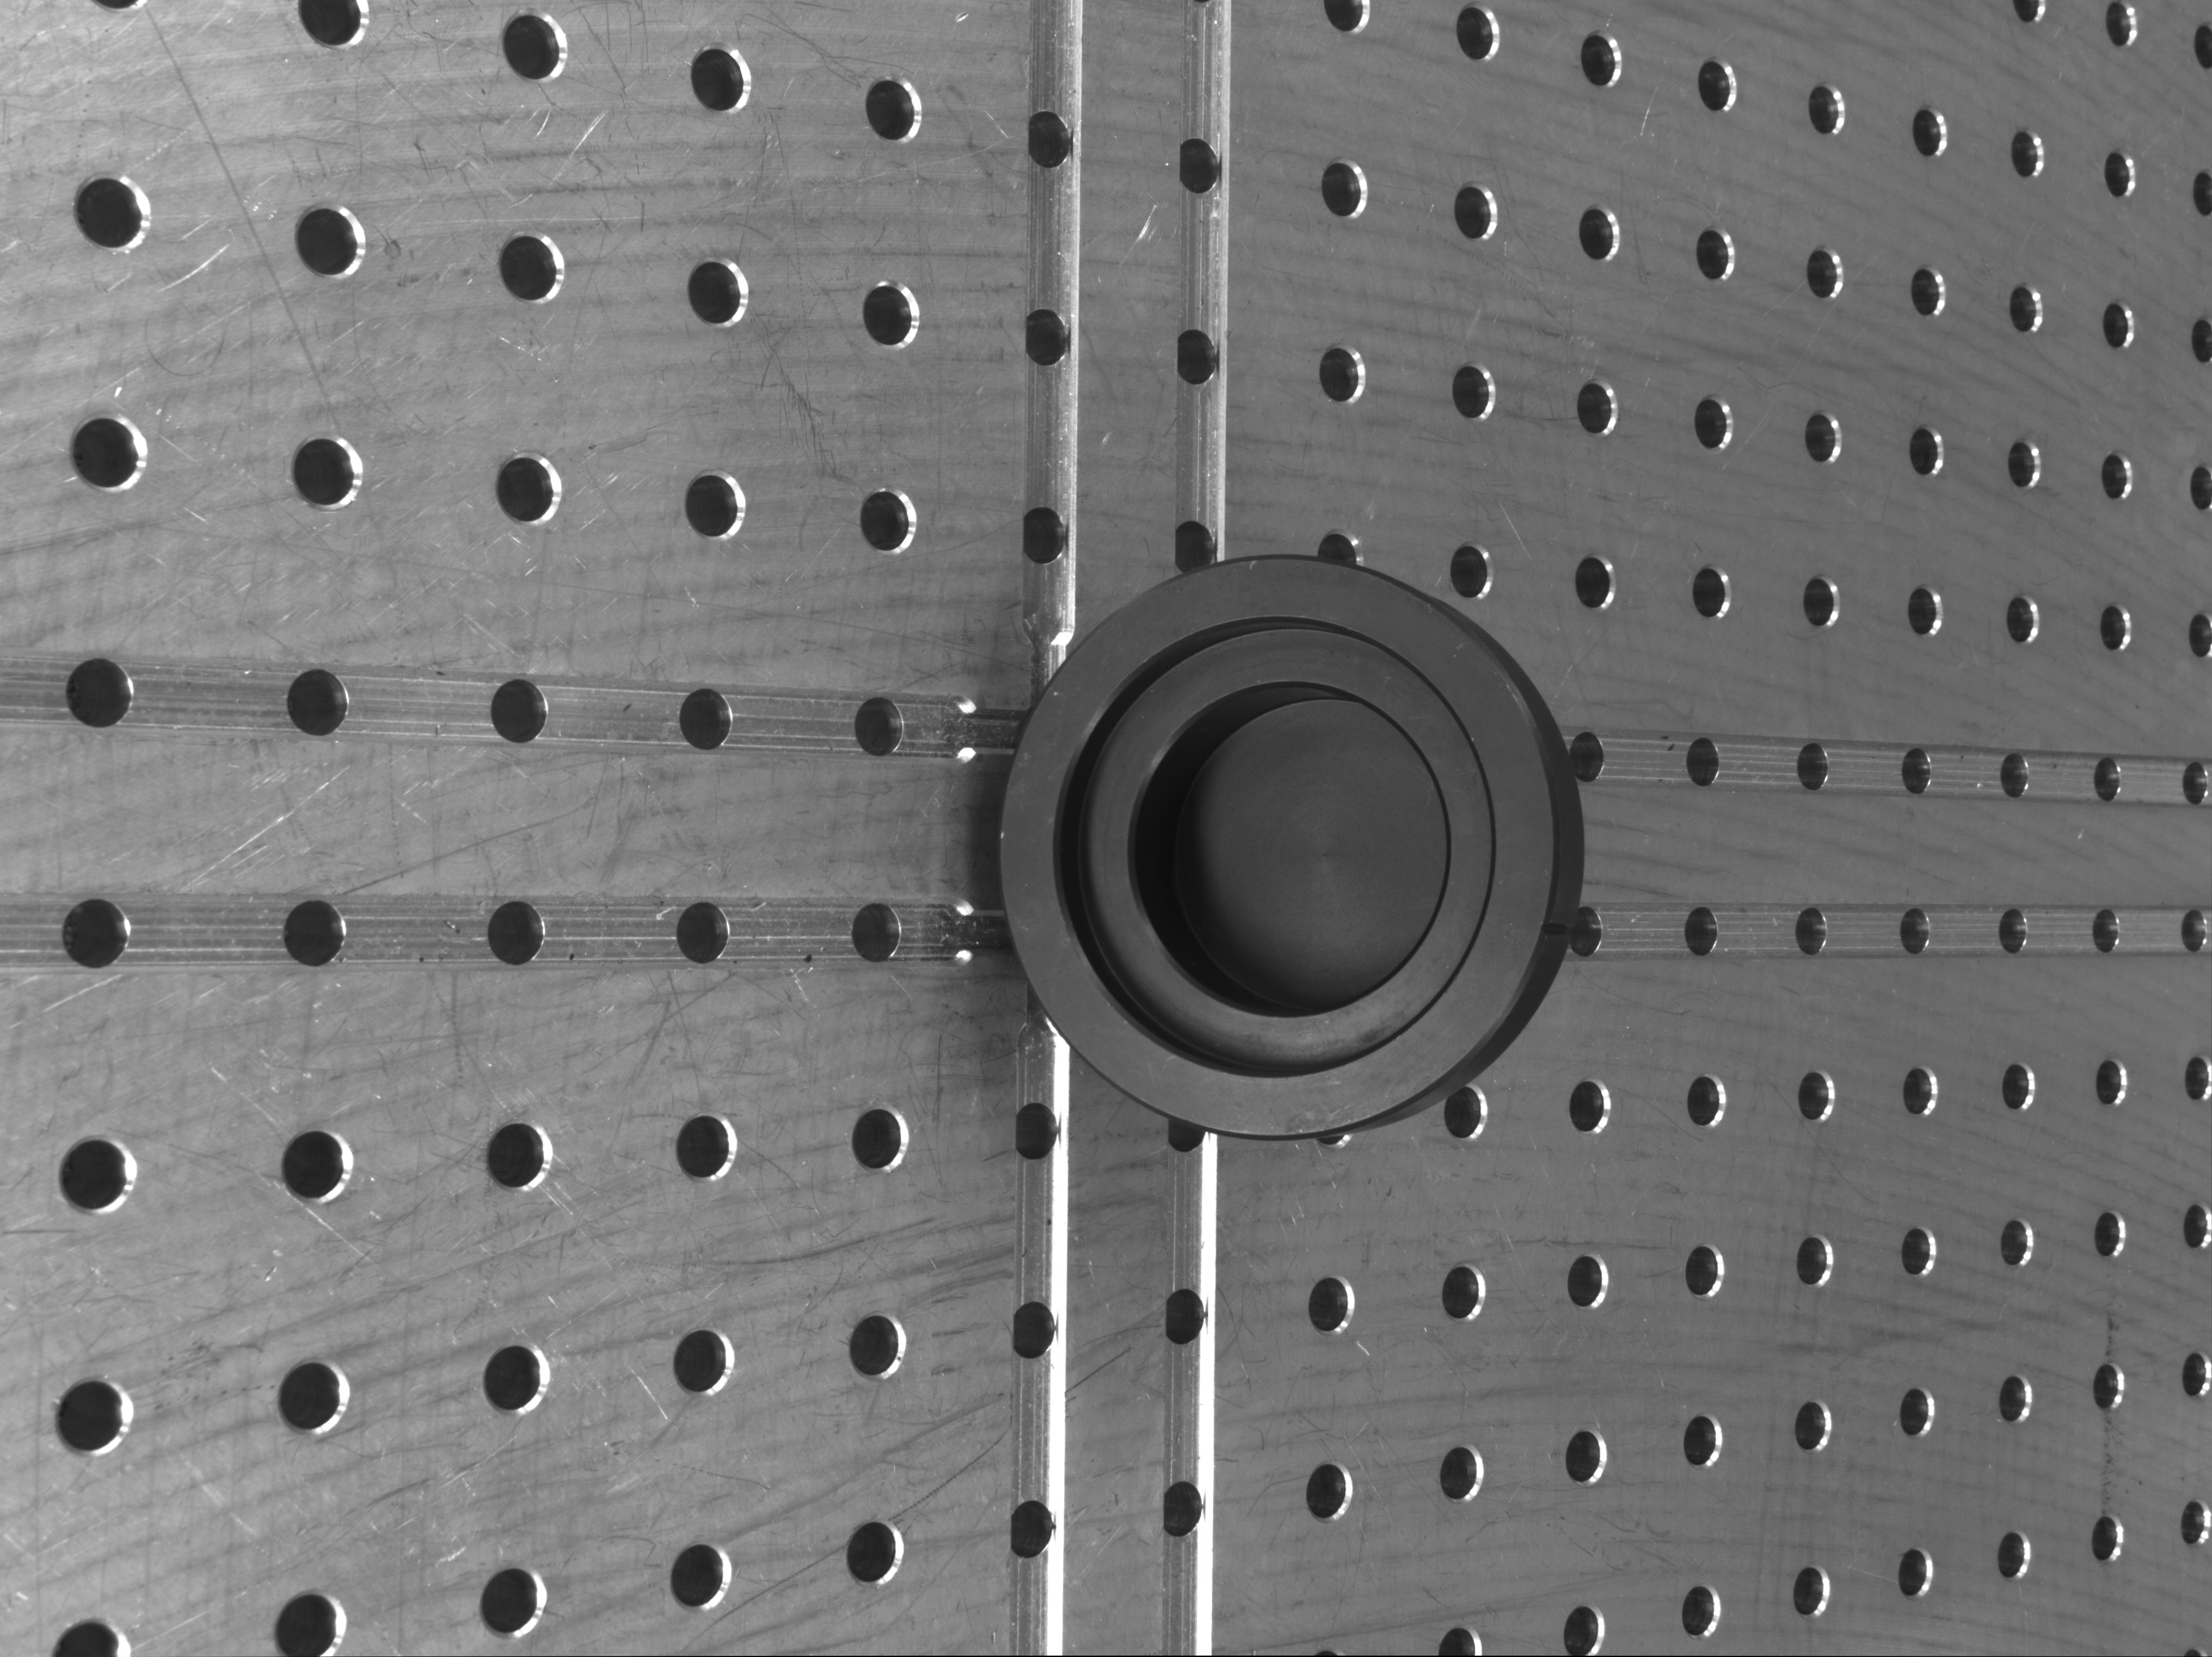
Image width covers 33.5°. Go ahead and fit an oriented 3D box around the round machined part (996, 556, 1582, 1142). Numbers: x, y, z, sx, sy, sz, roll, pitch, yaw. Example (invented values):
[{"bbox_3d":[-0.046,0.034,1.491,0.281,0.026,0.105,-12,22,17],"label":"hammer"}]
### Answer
[{"bbox_3d":[0.034,0.004,0.633,0.042,0.098,0.098,9,84,-70],"label":"round machined part"}]
